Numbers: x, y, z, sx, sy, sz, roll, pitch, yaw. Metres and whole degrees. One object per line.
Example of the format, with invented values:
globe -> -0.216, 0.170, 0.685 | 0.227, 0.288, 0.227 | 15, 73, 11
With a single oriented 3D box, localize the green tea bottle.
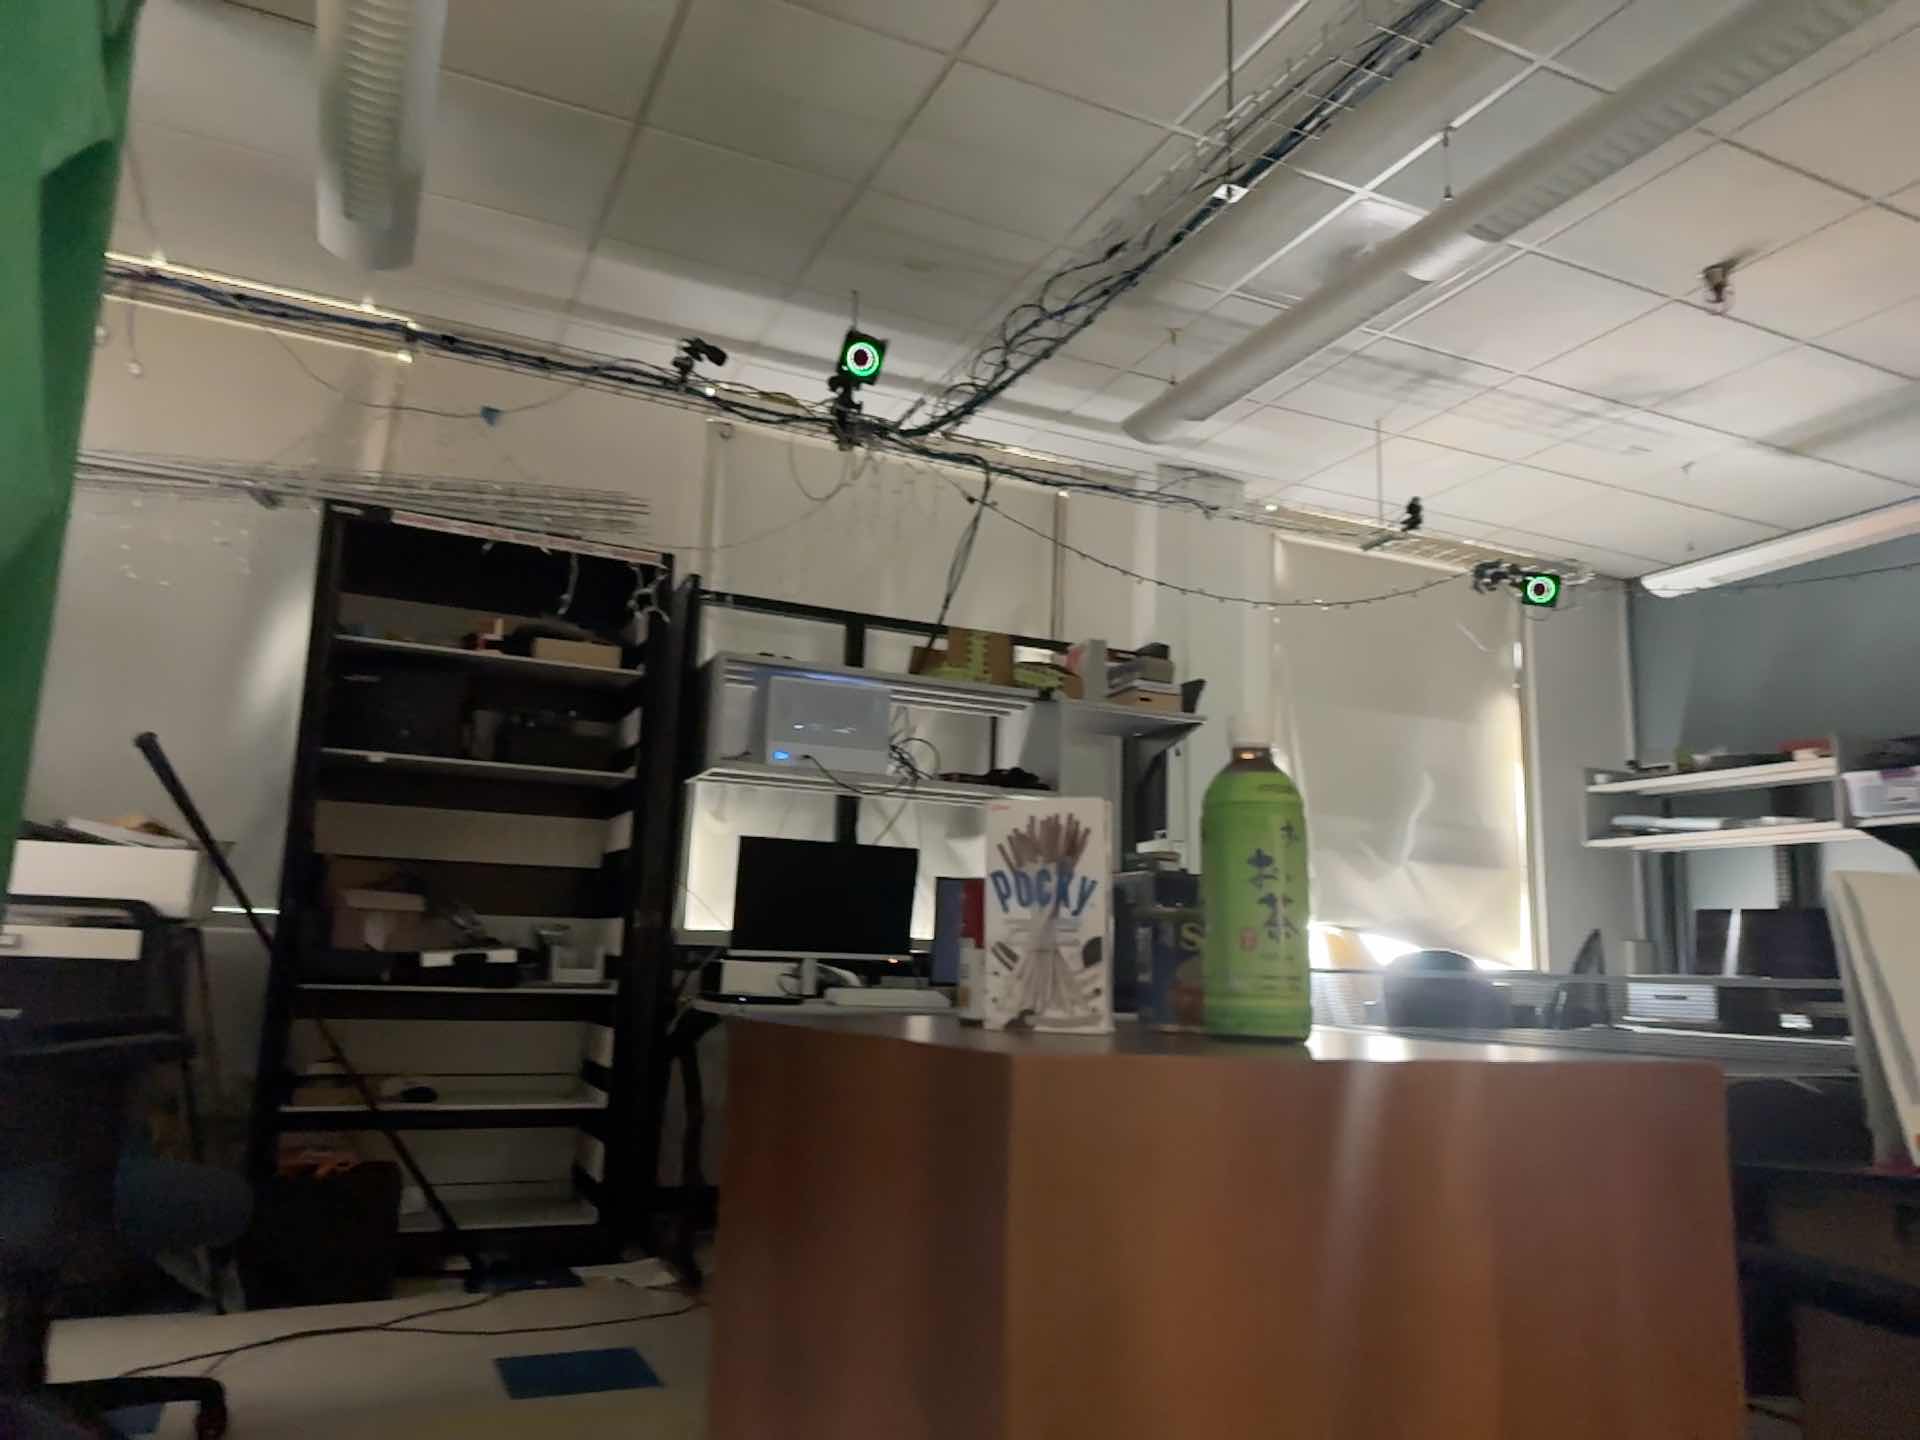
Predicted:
green tea bottle -> 0.185, 0.090, 0.859 | 0.073, 0.212, 0.073 | -1, -8, 0

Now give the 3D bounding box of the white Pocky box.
white Pocky box -> 0.052, 0.120, 0.865 | 0.084, 0.154, 0.028 | -1, -9, 18

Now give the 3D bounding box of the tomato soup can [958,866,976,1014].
tomato soup can -> 0.032, 0.155, 0.942 | 0.067, 0.102, 0.067 | 3, -10, 1

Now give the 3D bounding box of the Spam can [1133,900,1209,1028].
Spam can -> 0.173, 0.171, 0.943 | 0.100, 0.083, 0.056 | 3, -10, -9
